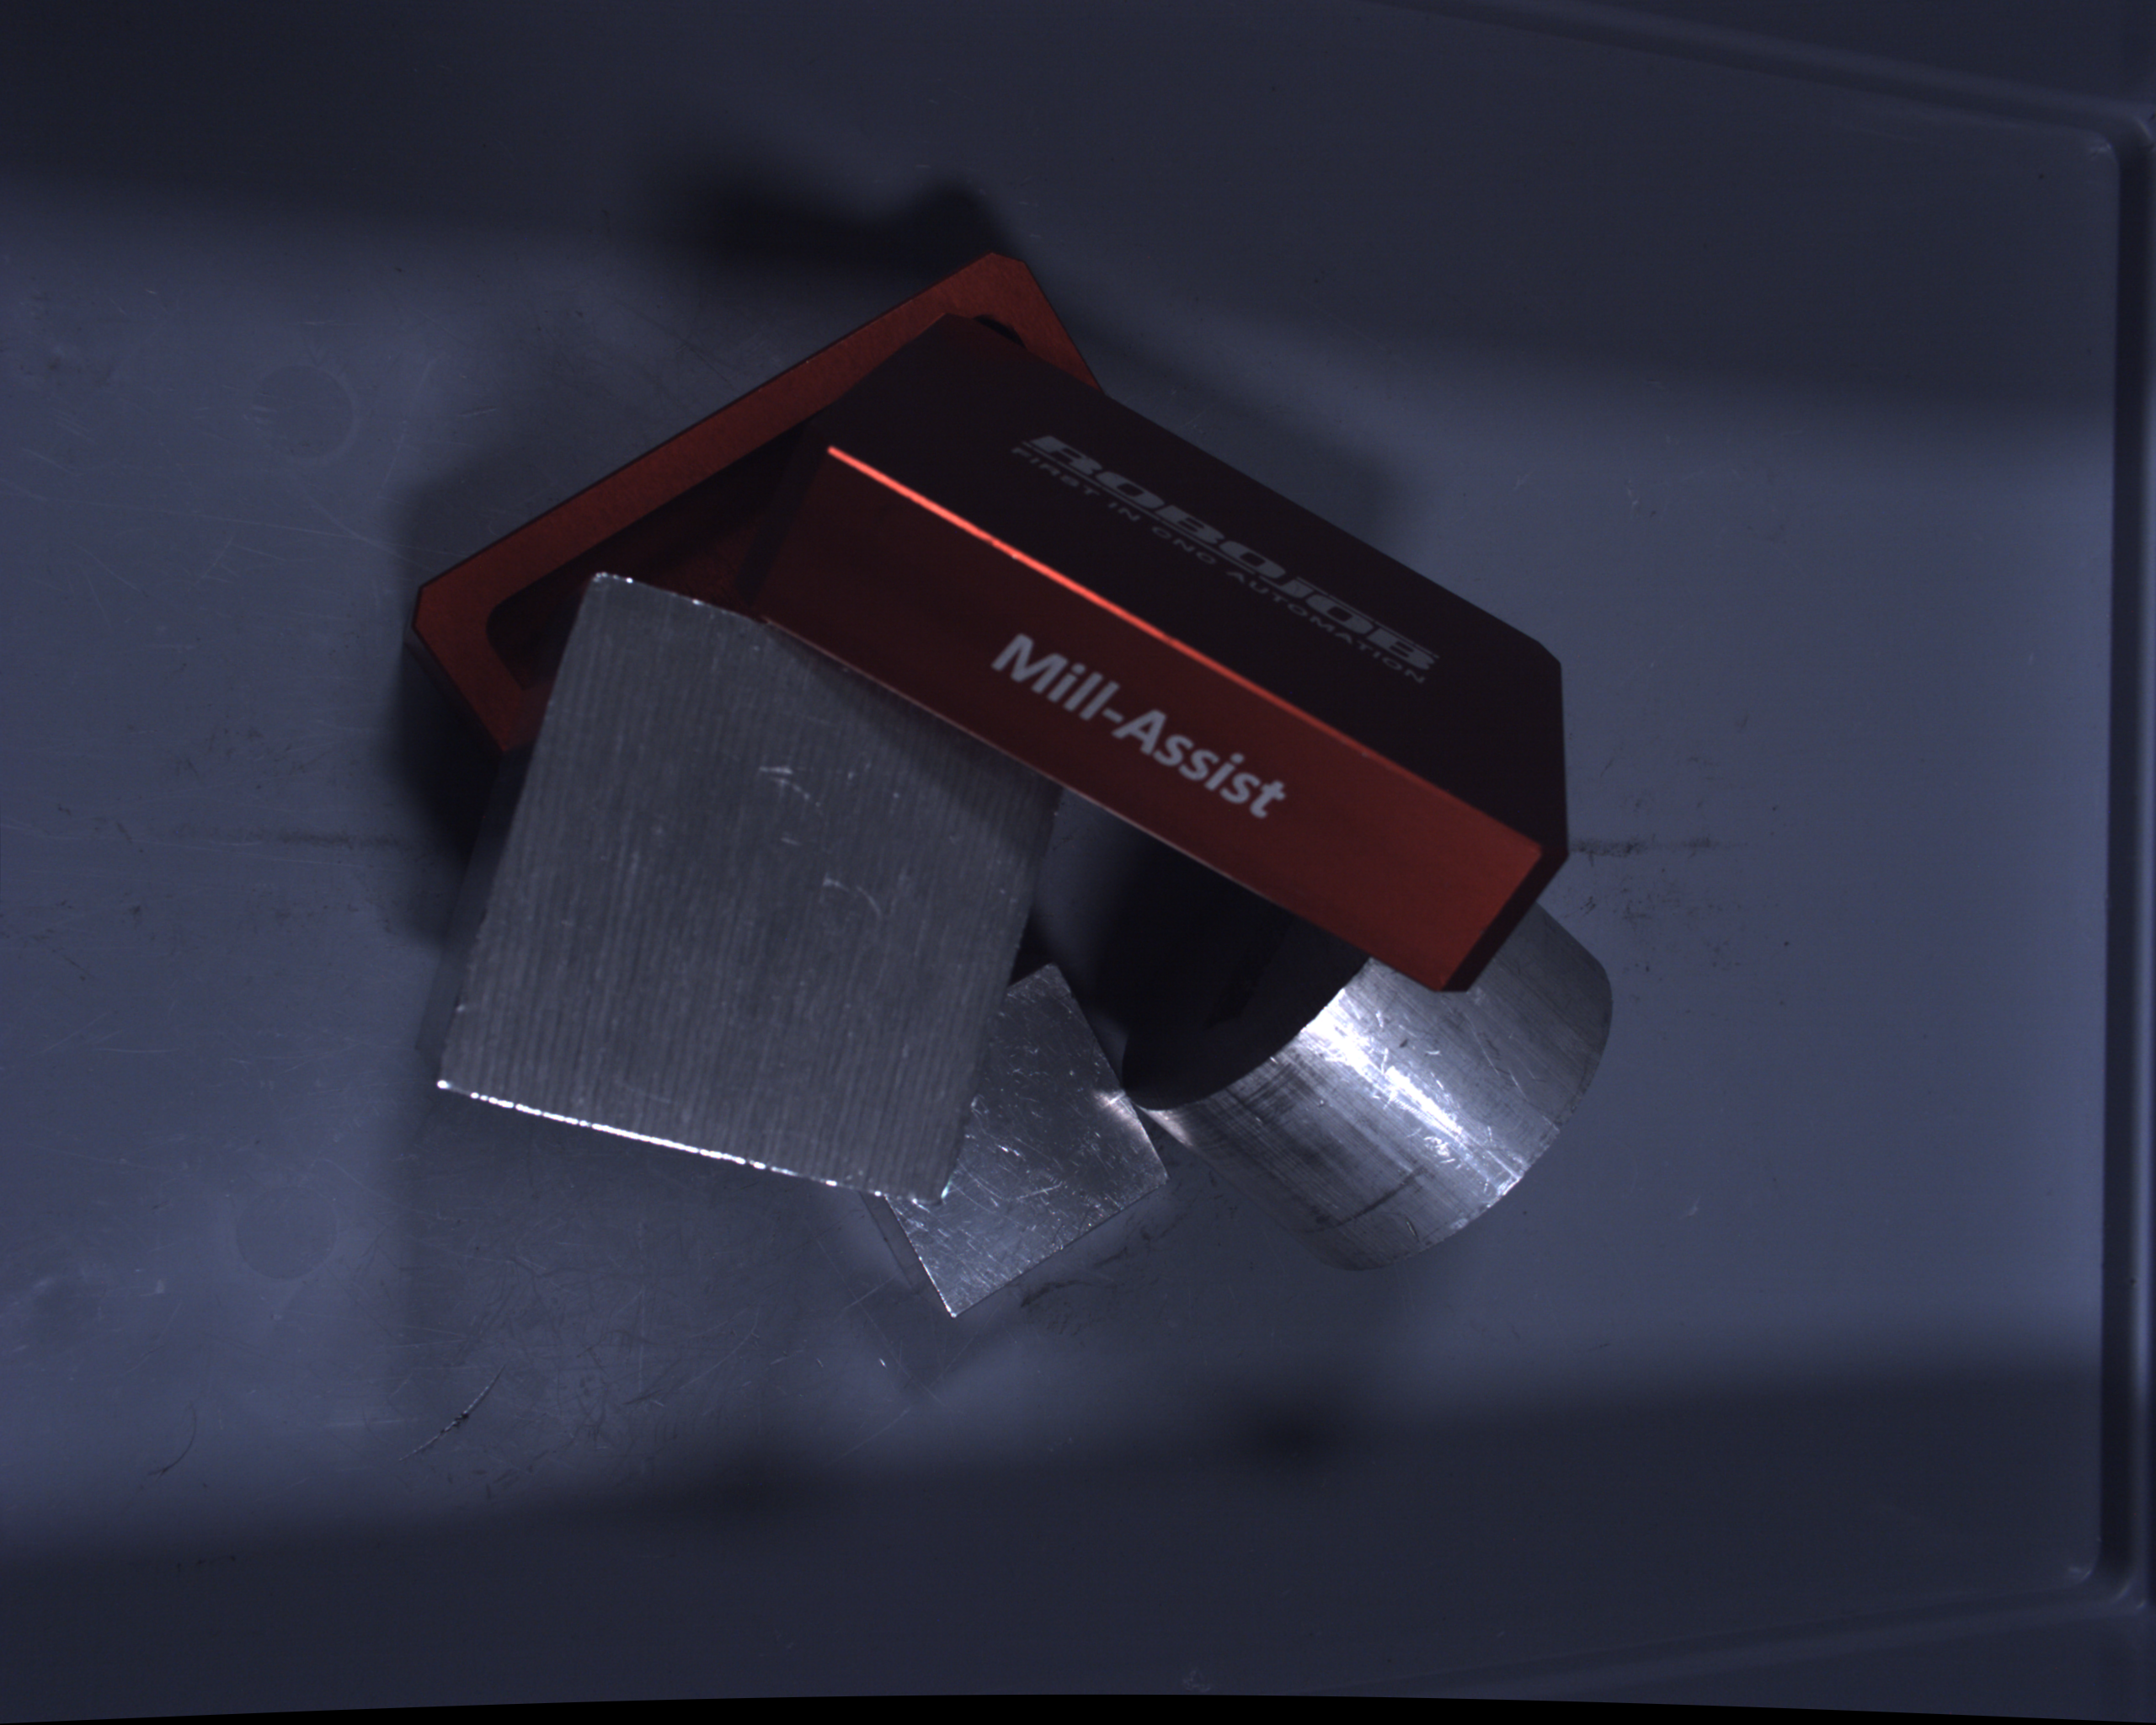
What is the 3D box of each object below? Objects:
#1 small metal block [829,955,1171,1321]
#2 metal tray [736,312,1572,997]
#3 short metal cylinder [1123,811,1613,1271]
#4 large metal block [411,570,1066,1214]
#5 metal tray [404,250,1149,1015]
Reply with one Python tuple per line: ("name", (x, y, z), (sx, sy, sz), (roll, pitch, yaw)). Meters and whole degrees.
("small metal block", (-0.018, 0.052, 0.403), (0.050, 0.025, 0.050), (-31, 100, -18))
("metal tray", (0.019, -0.039, 0.351), (0.130, 0.090, 0.030), (29, 119, -4))
("short metal cylinder", (0.055, 0.031, 0.402), (0.050, 0.080, 0.080), (41, 77, -16))
("large metal block", (-0.056, 0.006, 0.342), (0.081, 0.050, 0.080), (17, 84, -20))
("metal tray", (-0.045, -0.043, 0.390), (0.131, 0.030, 0.090), (-36, 102, -17))
